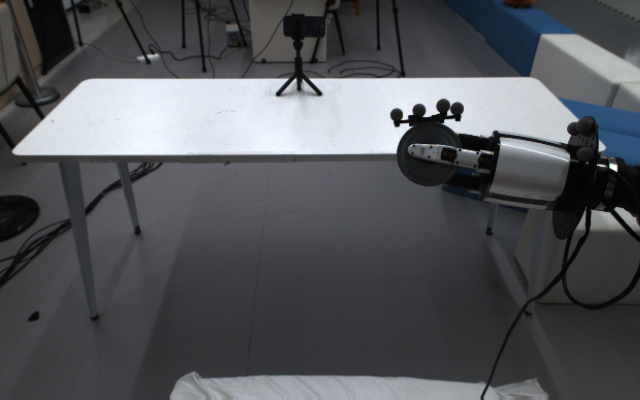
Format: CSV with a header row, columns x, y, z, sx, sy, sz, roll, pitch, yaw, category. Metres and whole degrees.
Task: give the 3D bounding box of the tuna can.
x,y,z,sx,sy,sz,roll,pitch,yaw,category
0.149,-0.062,0.657,0.085,0.085,0.034,10,3,11,tuna can
